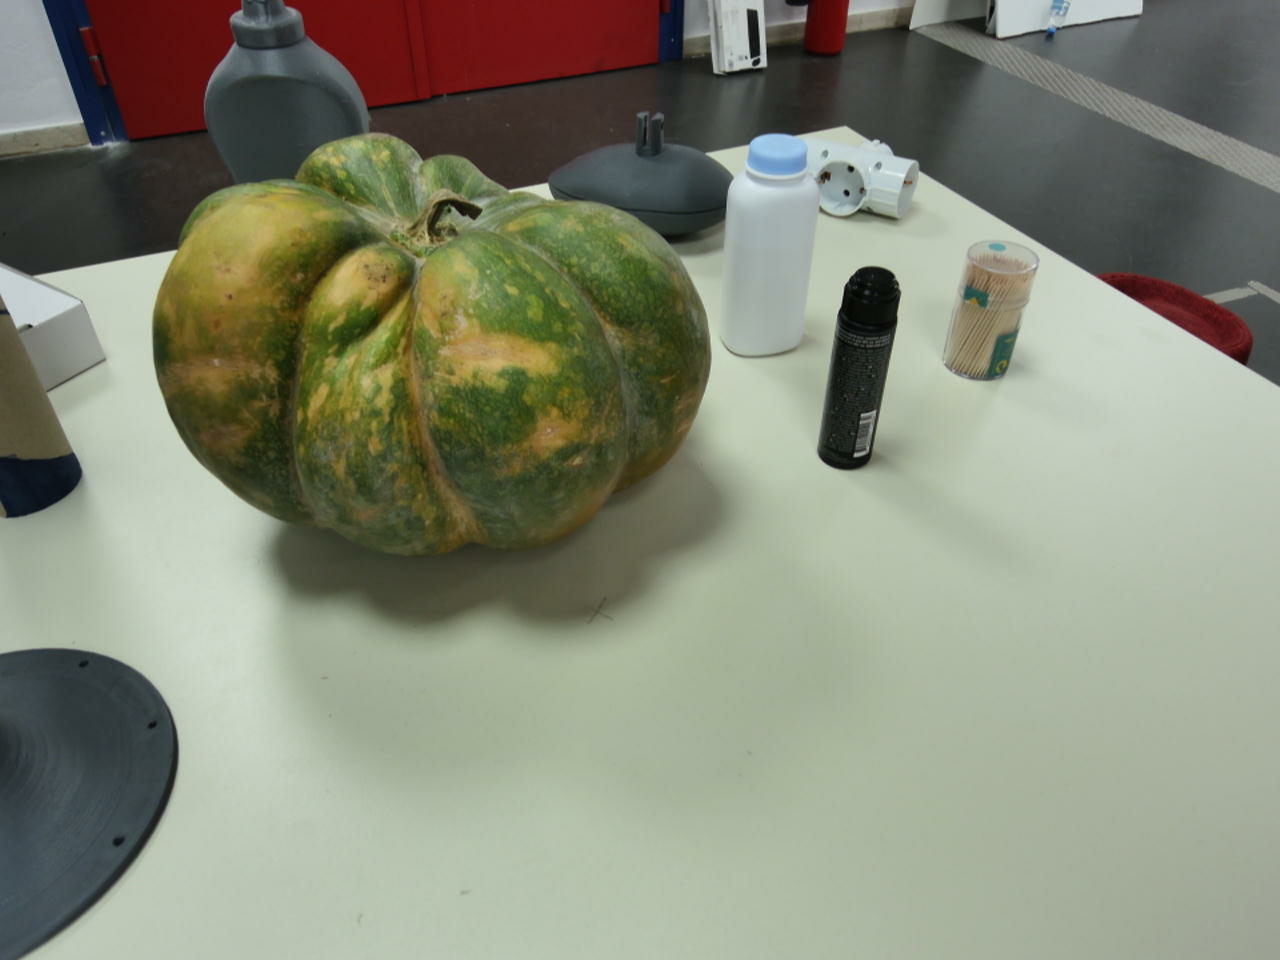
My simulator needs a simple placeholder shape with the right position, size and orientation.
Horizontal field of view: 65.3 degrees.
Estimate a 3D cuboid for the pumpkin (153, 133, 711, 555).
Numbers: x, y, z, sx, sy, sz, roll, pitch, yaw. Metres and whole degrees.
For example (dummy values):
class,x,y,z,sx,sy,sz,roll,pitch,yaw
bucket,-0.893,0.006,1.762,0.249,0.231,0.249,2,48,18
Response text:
class,x,y,z,sx,sy,sz,roll,pitch,yaw
pumpkin,-0.099,-0.073,0.491,0.270,0.173,0.237,8,39,9
